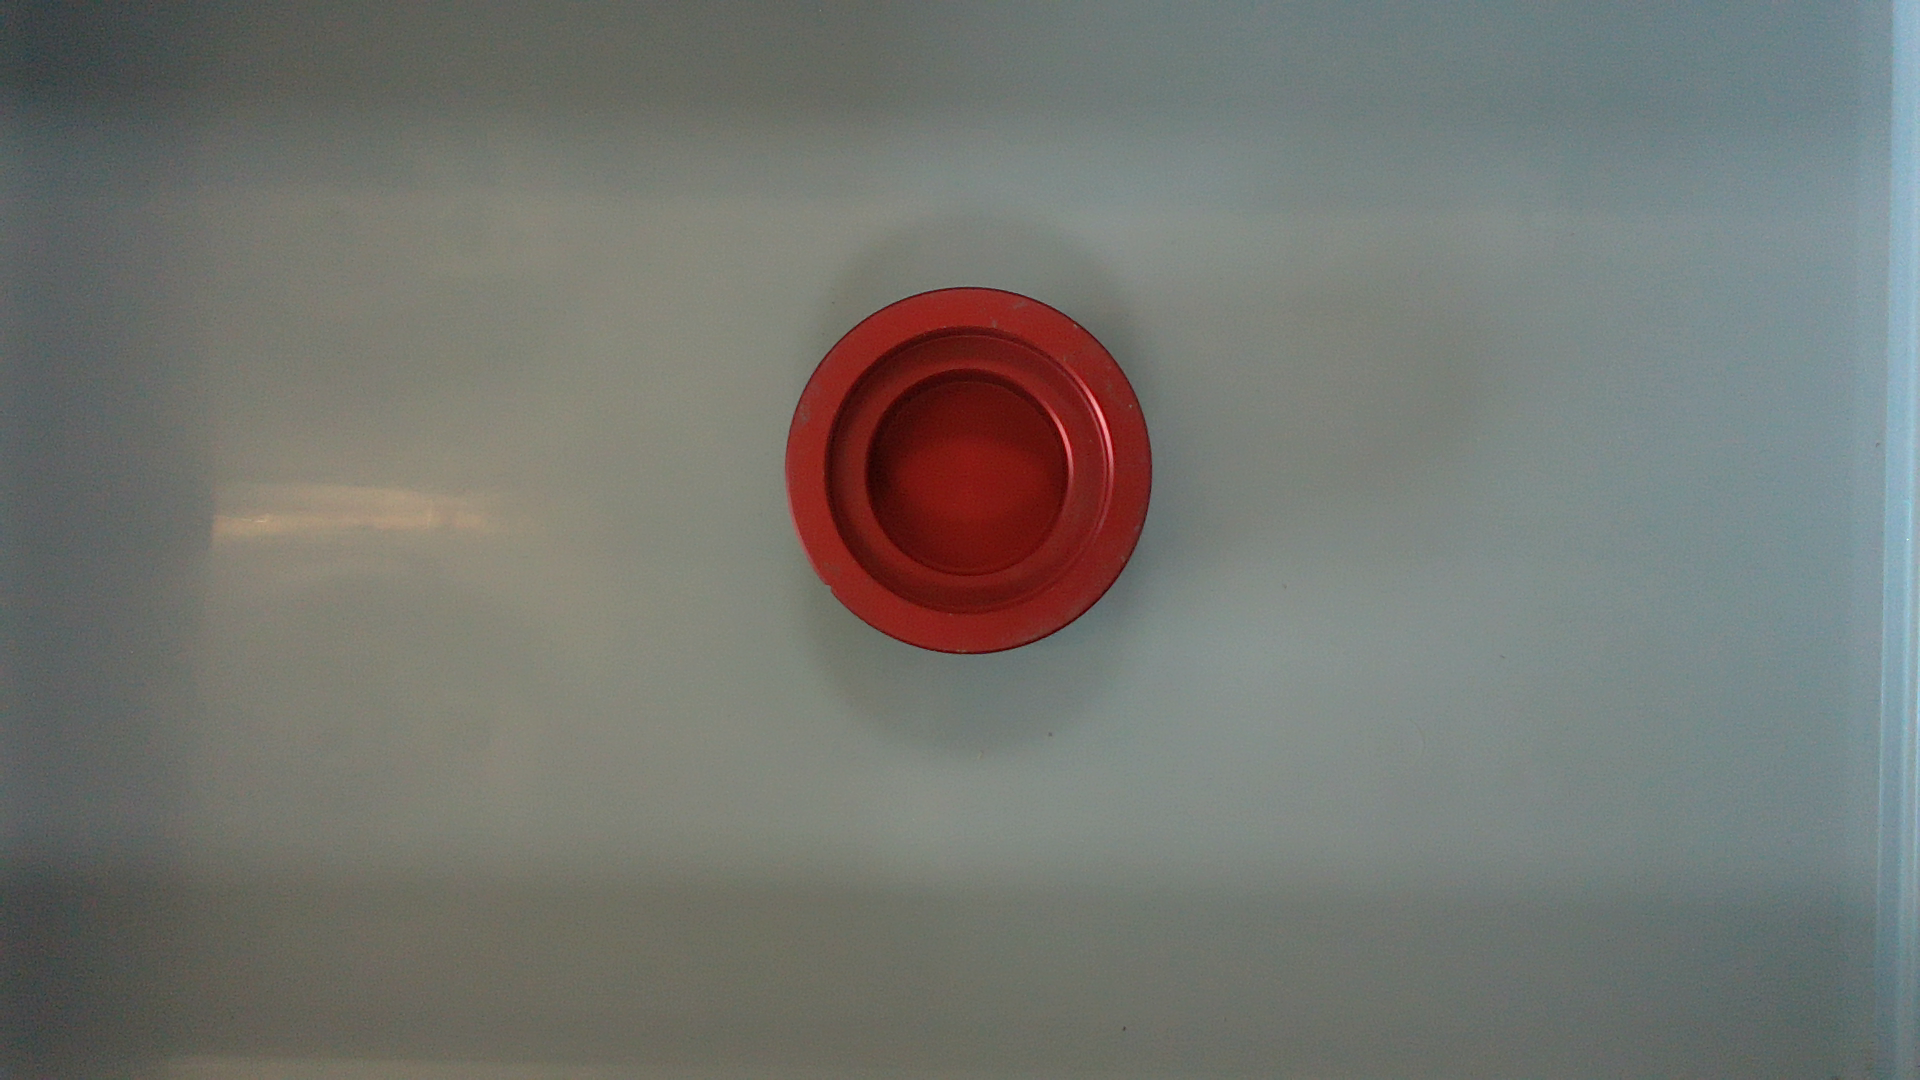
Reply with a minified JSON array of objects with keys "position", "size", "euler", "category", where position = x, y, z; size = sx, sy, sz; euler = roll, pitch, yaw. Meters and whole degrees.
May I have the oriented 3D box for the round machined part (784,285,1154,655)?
[{"position":[0.002,-0.018,0.384],"size":[0.098,0.042,0.098],"euler":[0,90,0],"category":"round machined part"}]
